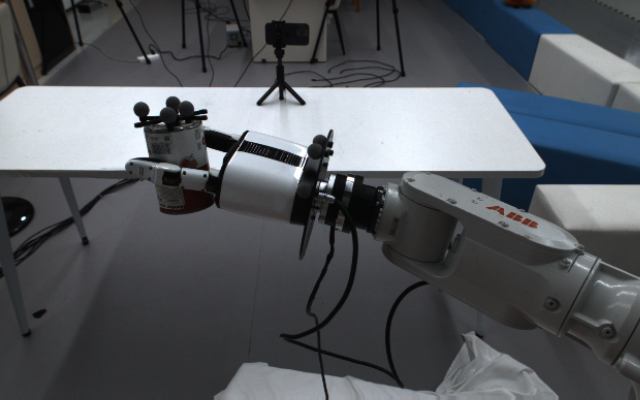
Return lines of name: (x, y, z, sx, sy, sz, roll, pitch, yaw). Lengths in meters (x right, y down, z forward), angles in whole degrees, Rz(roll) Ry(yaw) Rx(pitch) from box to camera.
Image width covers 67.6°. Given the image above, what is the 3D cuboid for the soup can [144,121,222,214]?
soup can: (-0.164, -0.040, 0.575, 0.067, 0.101, 0.067, -4, 21, 1)
